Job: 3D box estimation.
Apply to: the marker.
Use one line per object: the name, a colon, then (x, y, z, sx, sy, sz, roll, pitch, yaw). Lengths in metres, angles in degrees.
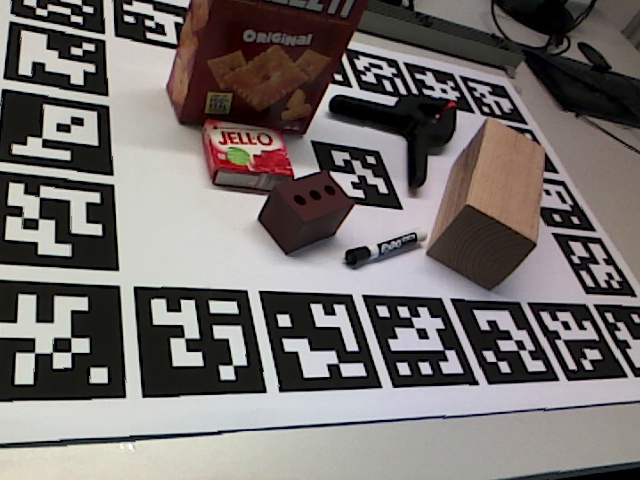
marker: (0.065, 0.012, 0.671, 0.120, 0.020, 0.020, -17, 64, -38)

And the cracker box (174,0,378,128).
cracker box: (-0.047, -0.224, 0.668, 0.163, 0.214, 0.072, 1, 52, -31)

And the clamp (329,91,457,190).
clamp: (0.127, -0.158, 0.842, 0.166, 0.037, 0.202, 48, 46, 14)

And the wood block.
wood block: (0.205, -0.049, 0.759, 0.090, 0.091, 0.206, 29, 42, -1)

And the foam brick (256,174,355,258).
foam brick: (-0.016, -0.026, 0.637, 0.077, 0.051, 0.053, -22, 68, -40)

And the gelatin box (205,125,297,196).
gelatin box: (-0.076, -0.086, 0.674, 0.089, 0.030, 0.073, 3, 54, -27)
